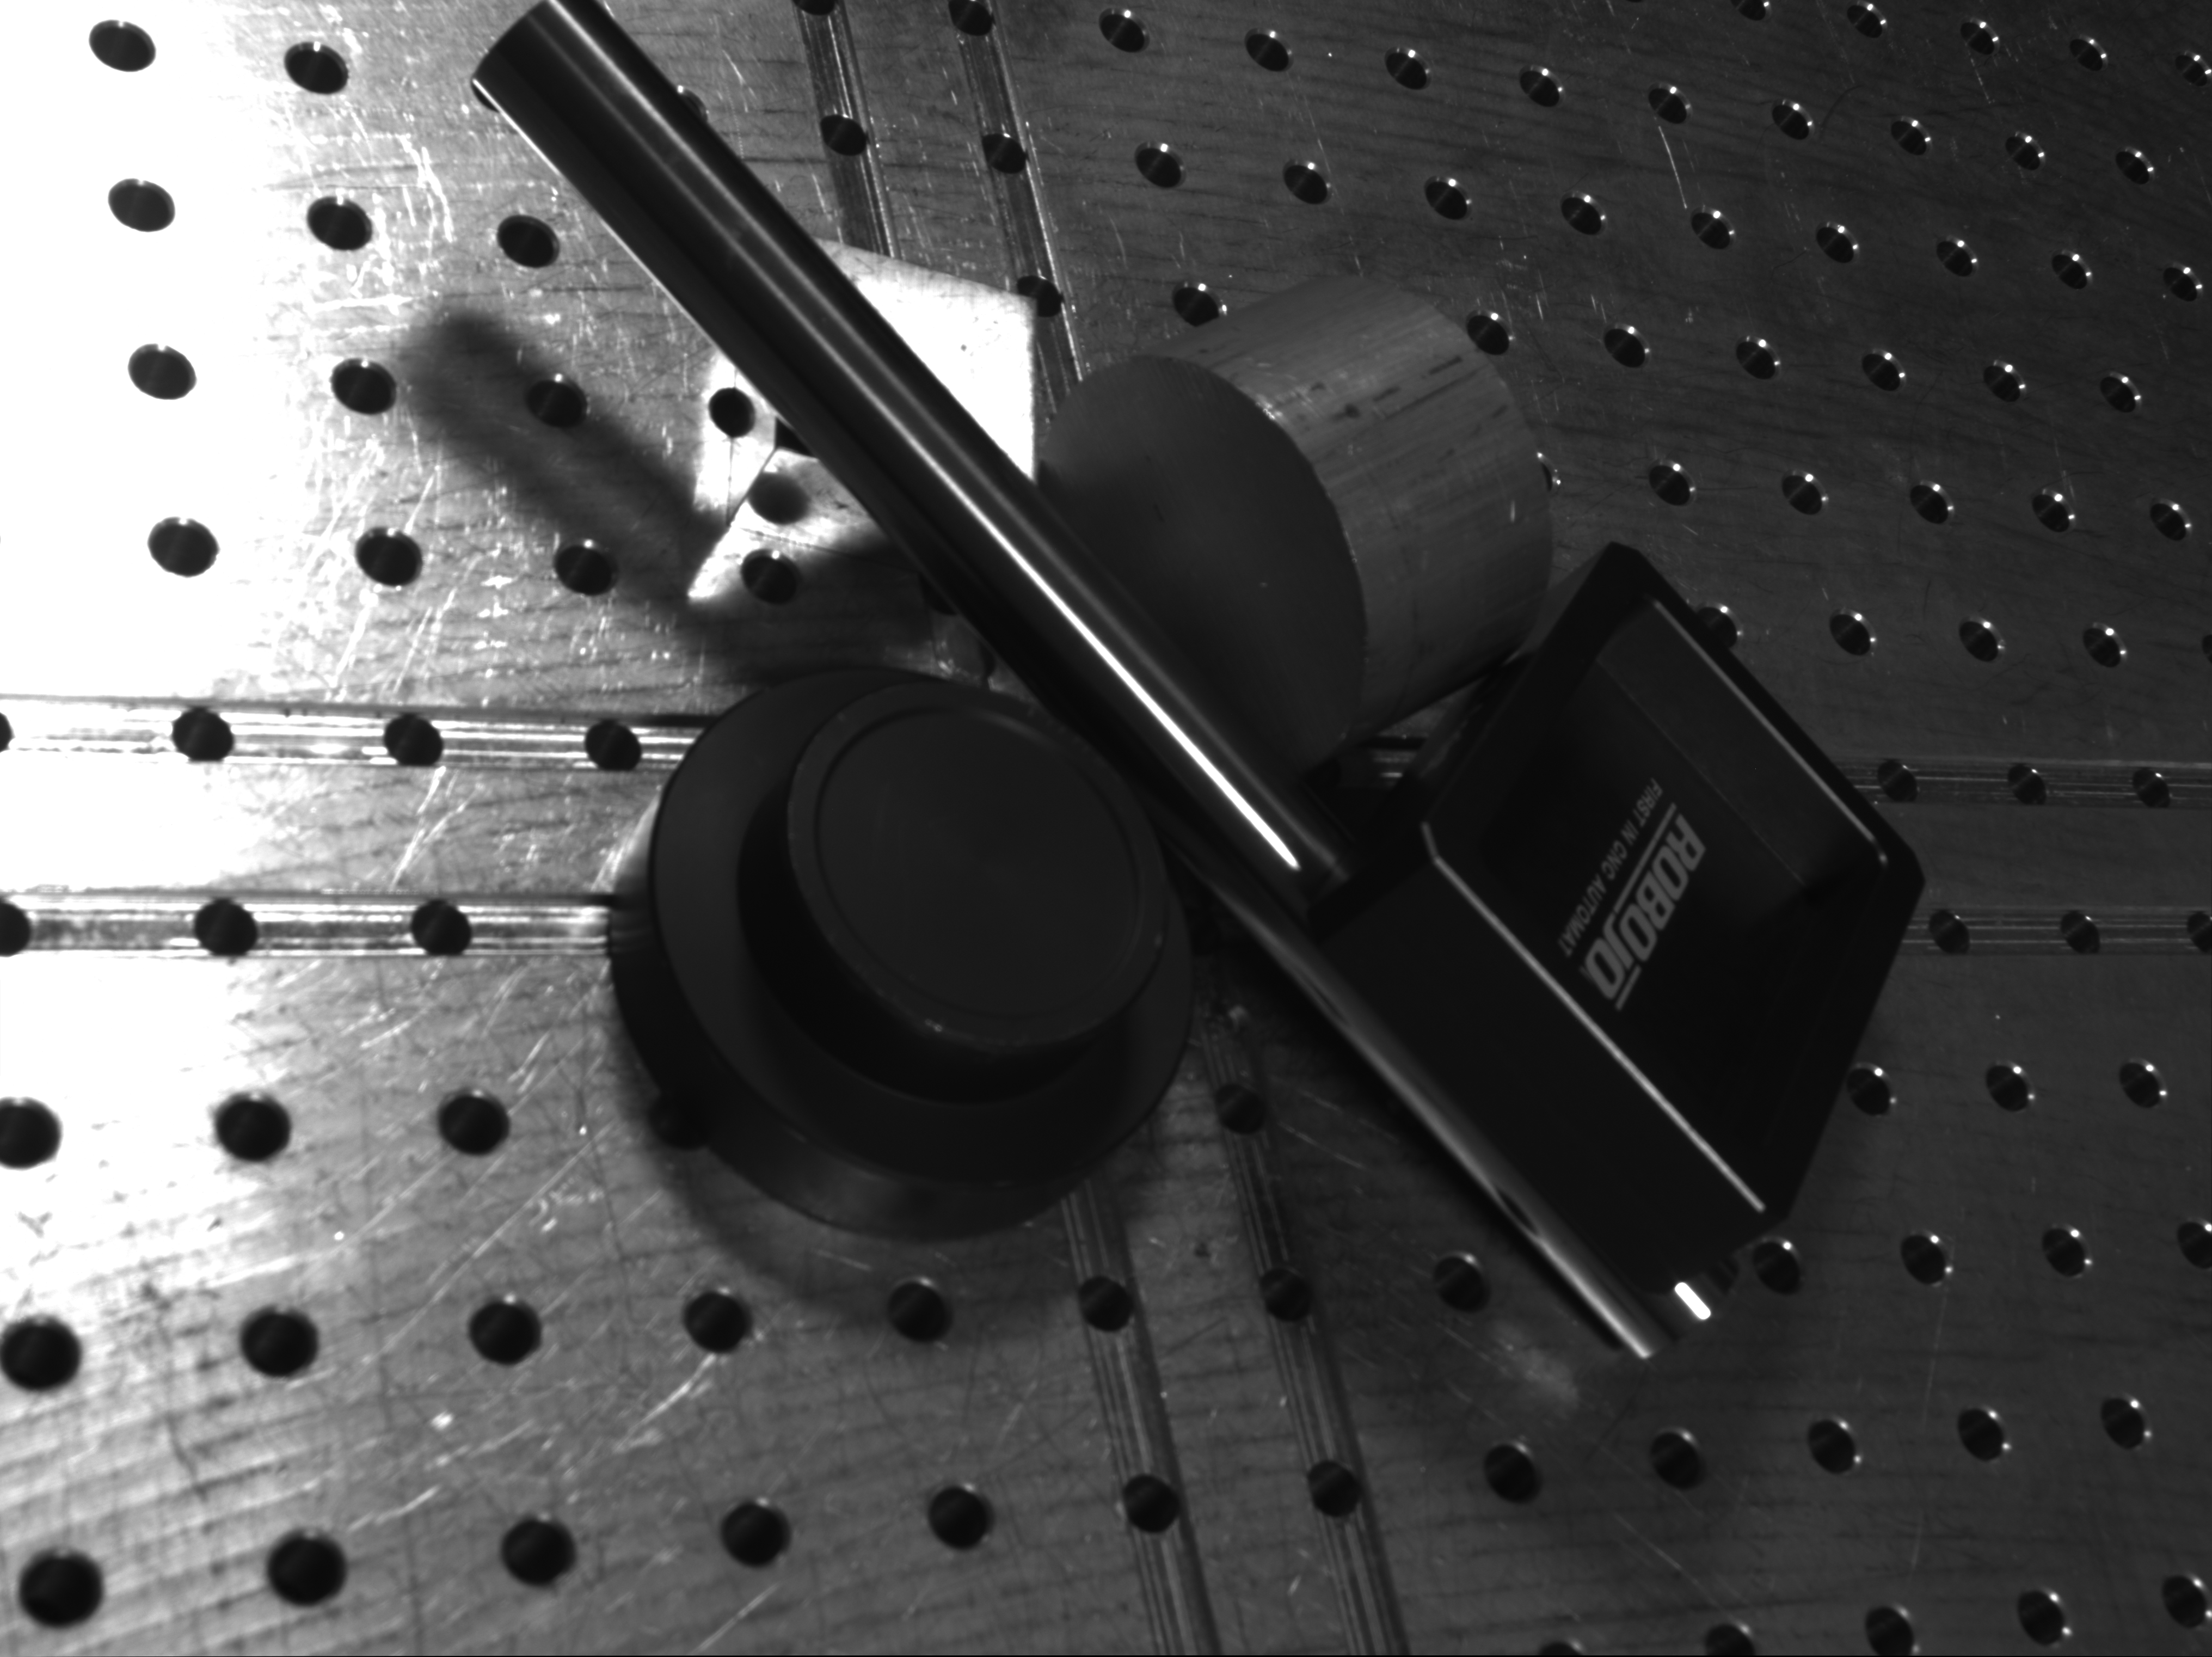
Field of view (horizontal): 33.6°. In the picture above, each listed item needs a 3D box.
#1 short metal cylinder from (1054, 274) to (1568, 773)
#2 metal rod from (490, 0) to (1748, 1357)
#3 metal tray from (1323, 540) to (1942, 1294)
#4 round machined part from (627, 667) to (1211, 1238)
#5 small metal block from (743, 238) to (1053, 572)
[{"bbox_3d":[0.036,-0.054,0.660,0.050,0.080,0.080,-28,77,-37],"label":"short metal cylinder"},{"bbox_3d":[0.004,-0.026,0.639,0.300,0.025,0.025,48,51,-5],"label":"metal rod"},{"bbox_3d":[0.098,0.012,0.658,0.090,0.030,0.130,47,35,-5],"label":"metal tray"},{"bbox_3d":[-0.026,0.015,0.608,0.098,0.042,0.098,14,56,-21],"label":"round machined part"},{"bbox_3d":[-0.038,-0.076,0.670,0.050,0.025,0.050,13,56,-21],"label":"small metal block"}]
